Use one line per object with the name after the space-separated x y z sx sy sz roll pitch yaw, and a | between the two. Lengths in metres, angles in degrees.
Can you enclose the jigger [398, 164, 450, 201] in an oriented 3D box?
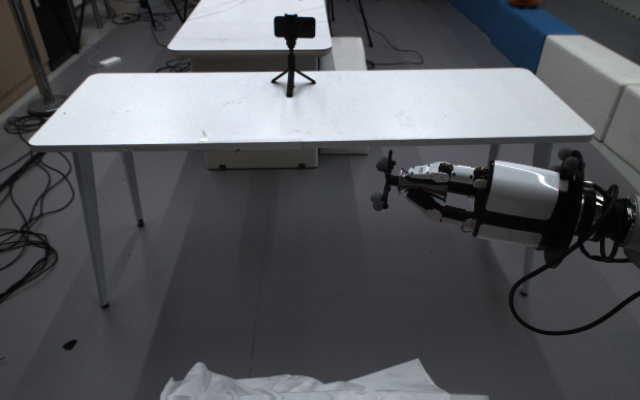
0.155 -0.027 0.694 0.071 0.043 0.043 8 35 12 | jigger
